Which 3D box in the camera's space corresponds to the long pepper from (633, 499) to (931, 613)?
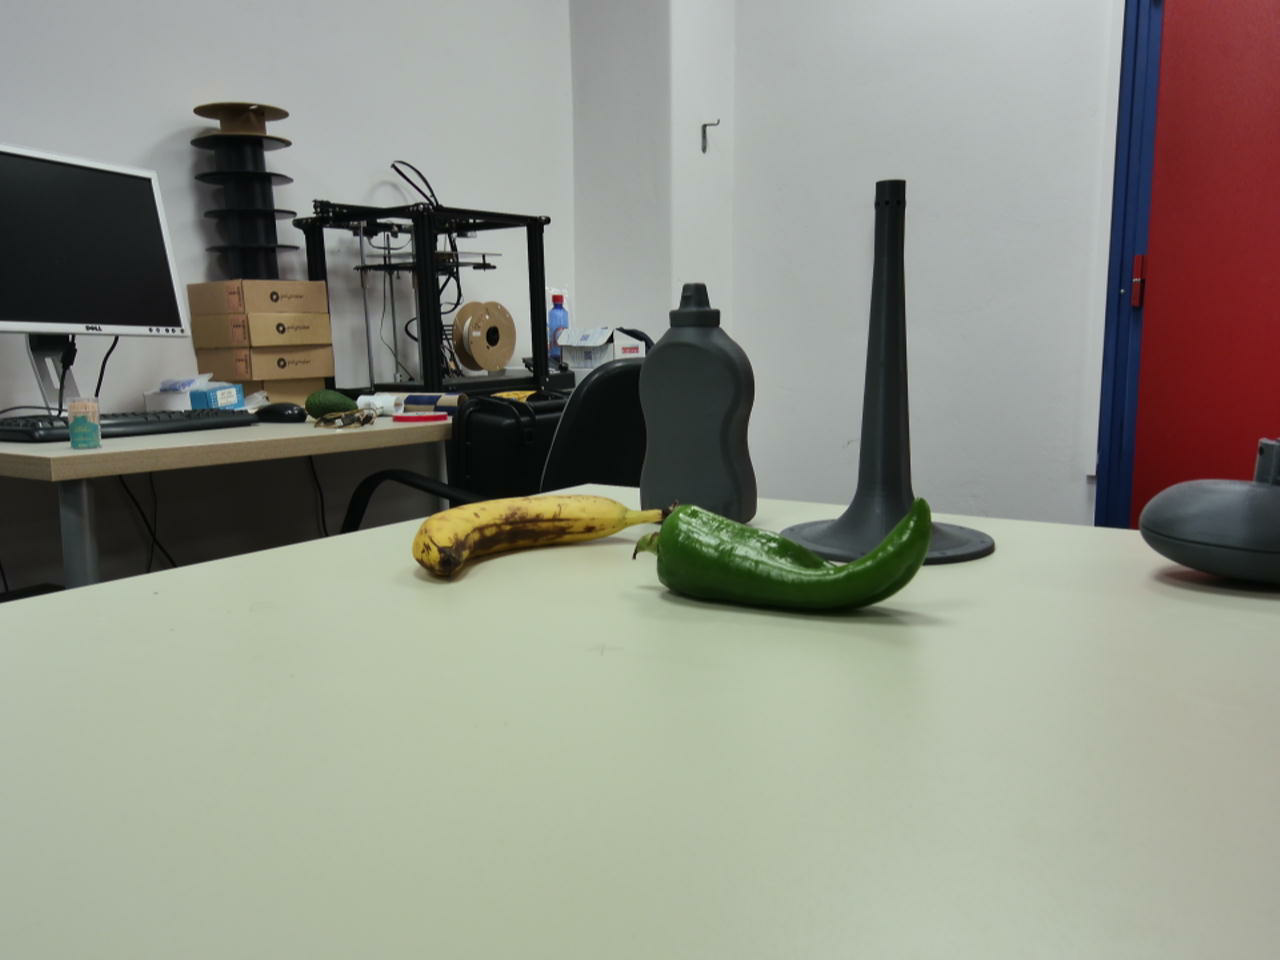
[{"bbox_3d":[0.071,0.037,0.556,0.175,0.065,0.058,5,7,34],"label":"long pepper"}]
